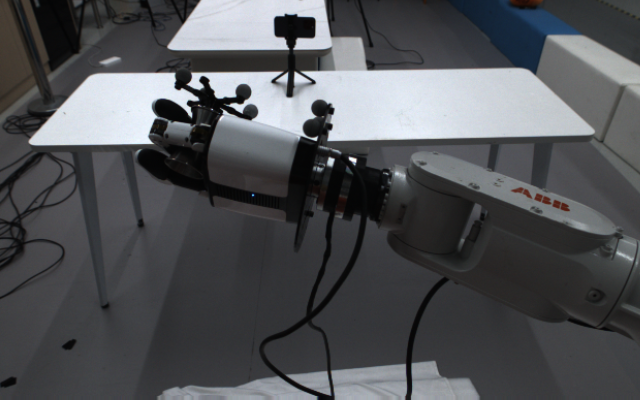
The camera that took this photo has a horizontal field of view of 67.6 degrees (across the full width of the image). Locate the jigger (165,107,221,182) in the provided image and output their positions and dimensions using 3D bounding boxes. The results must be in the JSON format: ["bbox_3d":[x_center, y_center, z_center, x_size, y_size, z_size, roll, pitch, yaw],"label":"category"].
[{"bbox_3d":[-0.128,-0.060,0.518,0.043,0.043,0.071,12,71,14],"label":"jigger"}]
